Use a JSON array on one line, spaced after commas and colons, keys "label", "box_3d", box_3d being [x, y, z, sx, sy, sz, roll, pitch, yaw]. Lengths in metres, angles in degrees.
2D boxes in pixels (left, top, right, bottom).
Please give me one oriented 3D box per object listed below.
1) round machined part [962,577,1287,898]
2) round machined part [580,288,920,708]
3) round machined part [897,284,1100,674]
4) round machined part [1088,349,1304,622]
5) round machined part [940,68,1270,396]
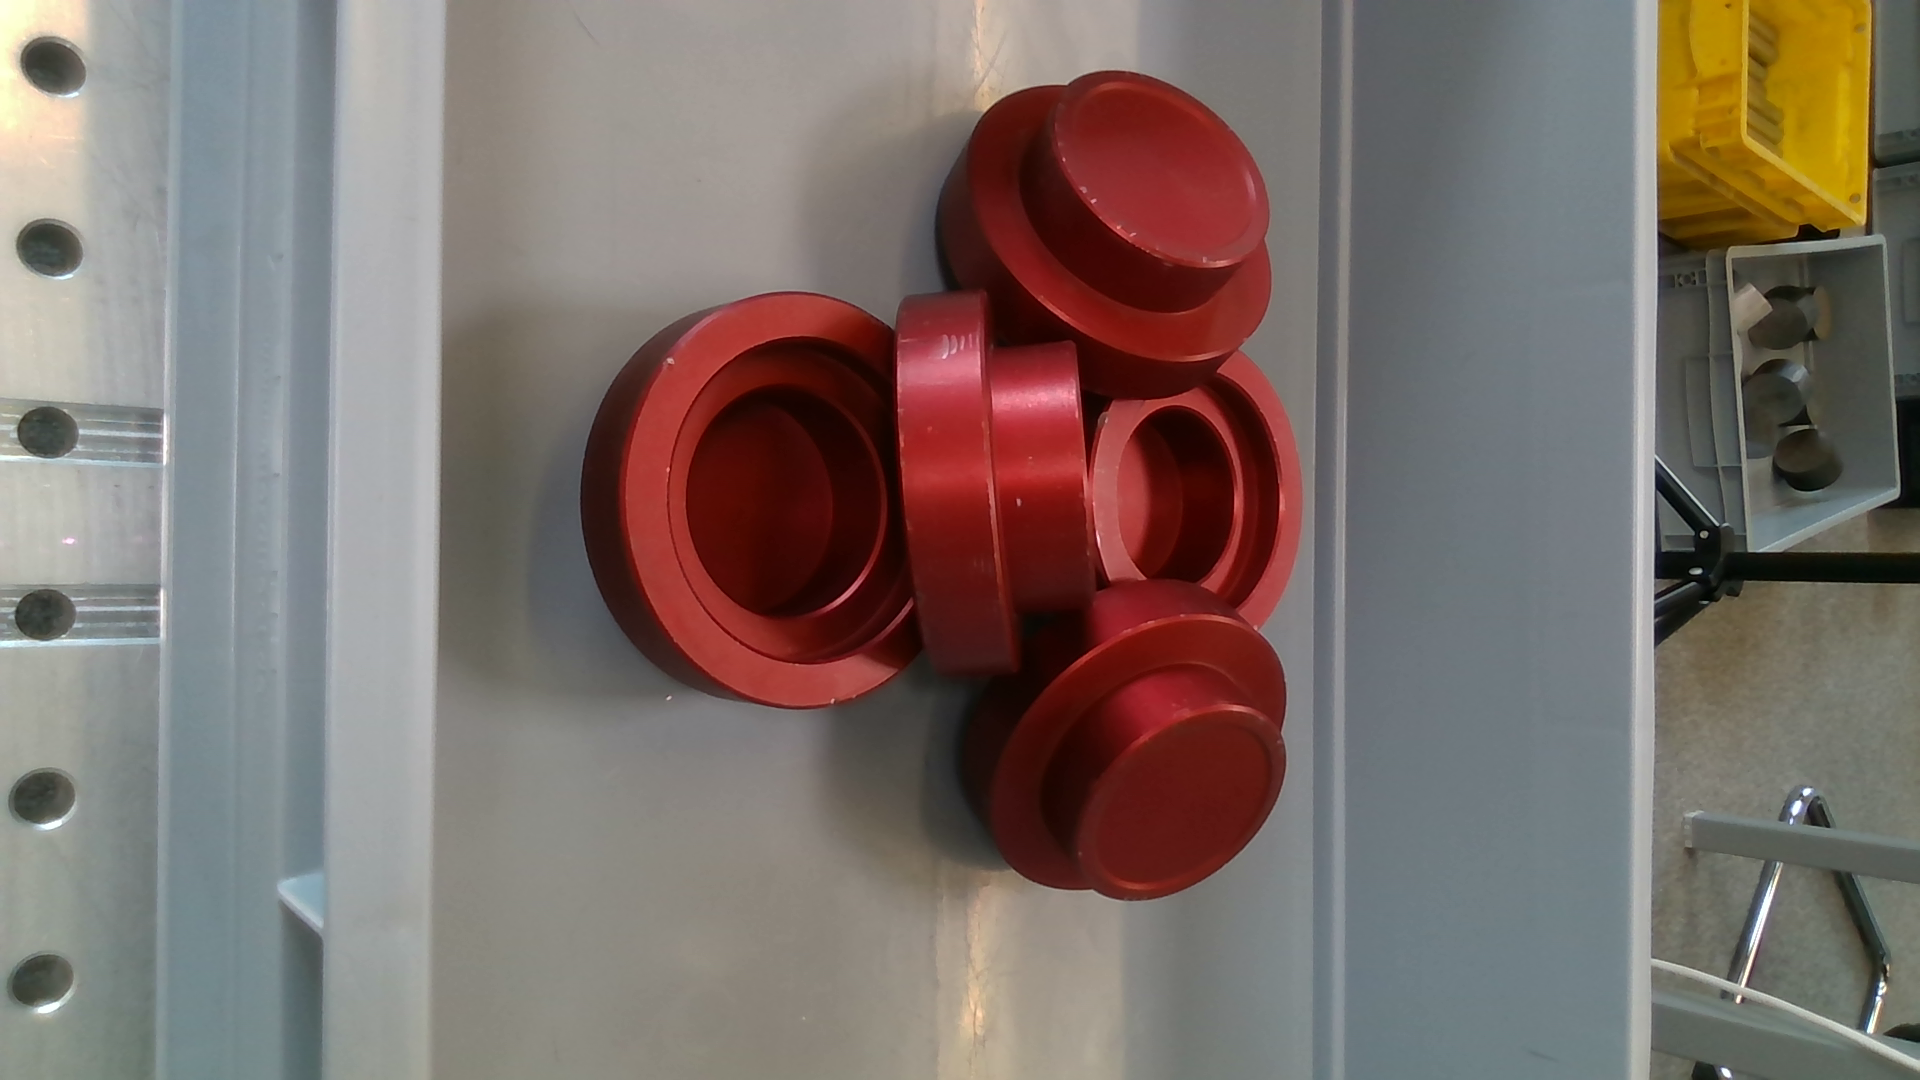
[{"label": "round machined part", "box_3d": [0.053, 0.063, 0.394, 0.098, 0.042, 0.098, -14, 126, -20]}, {"label": "round machined part", "box_3d": [-0.048, -0.010, 0.338, 0.098, 0.042, 0.098, 0, 90, -40]}, {"label": "round machined part", "box_3d": [0.012, -0.016, 0.351, 0.042, 0.098, 0.098, -5, 94, 4]}, {"label": "round machined part", "box_3d": [0.061, -0.013, 0.429, 0.098, 0.042, 0.098, 0, 90, -40]}, {"label": "round machined part", "box_3d": [0.047, -0.093, 0.390, 0.098, 0.042, 0.098, 13, 57, -21]}]
